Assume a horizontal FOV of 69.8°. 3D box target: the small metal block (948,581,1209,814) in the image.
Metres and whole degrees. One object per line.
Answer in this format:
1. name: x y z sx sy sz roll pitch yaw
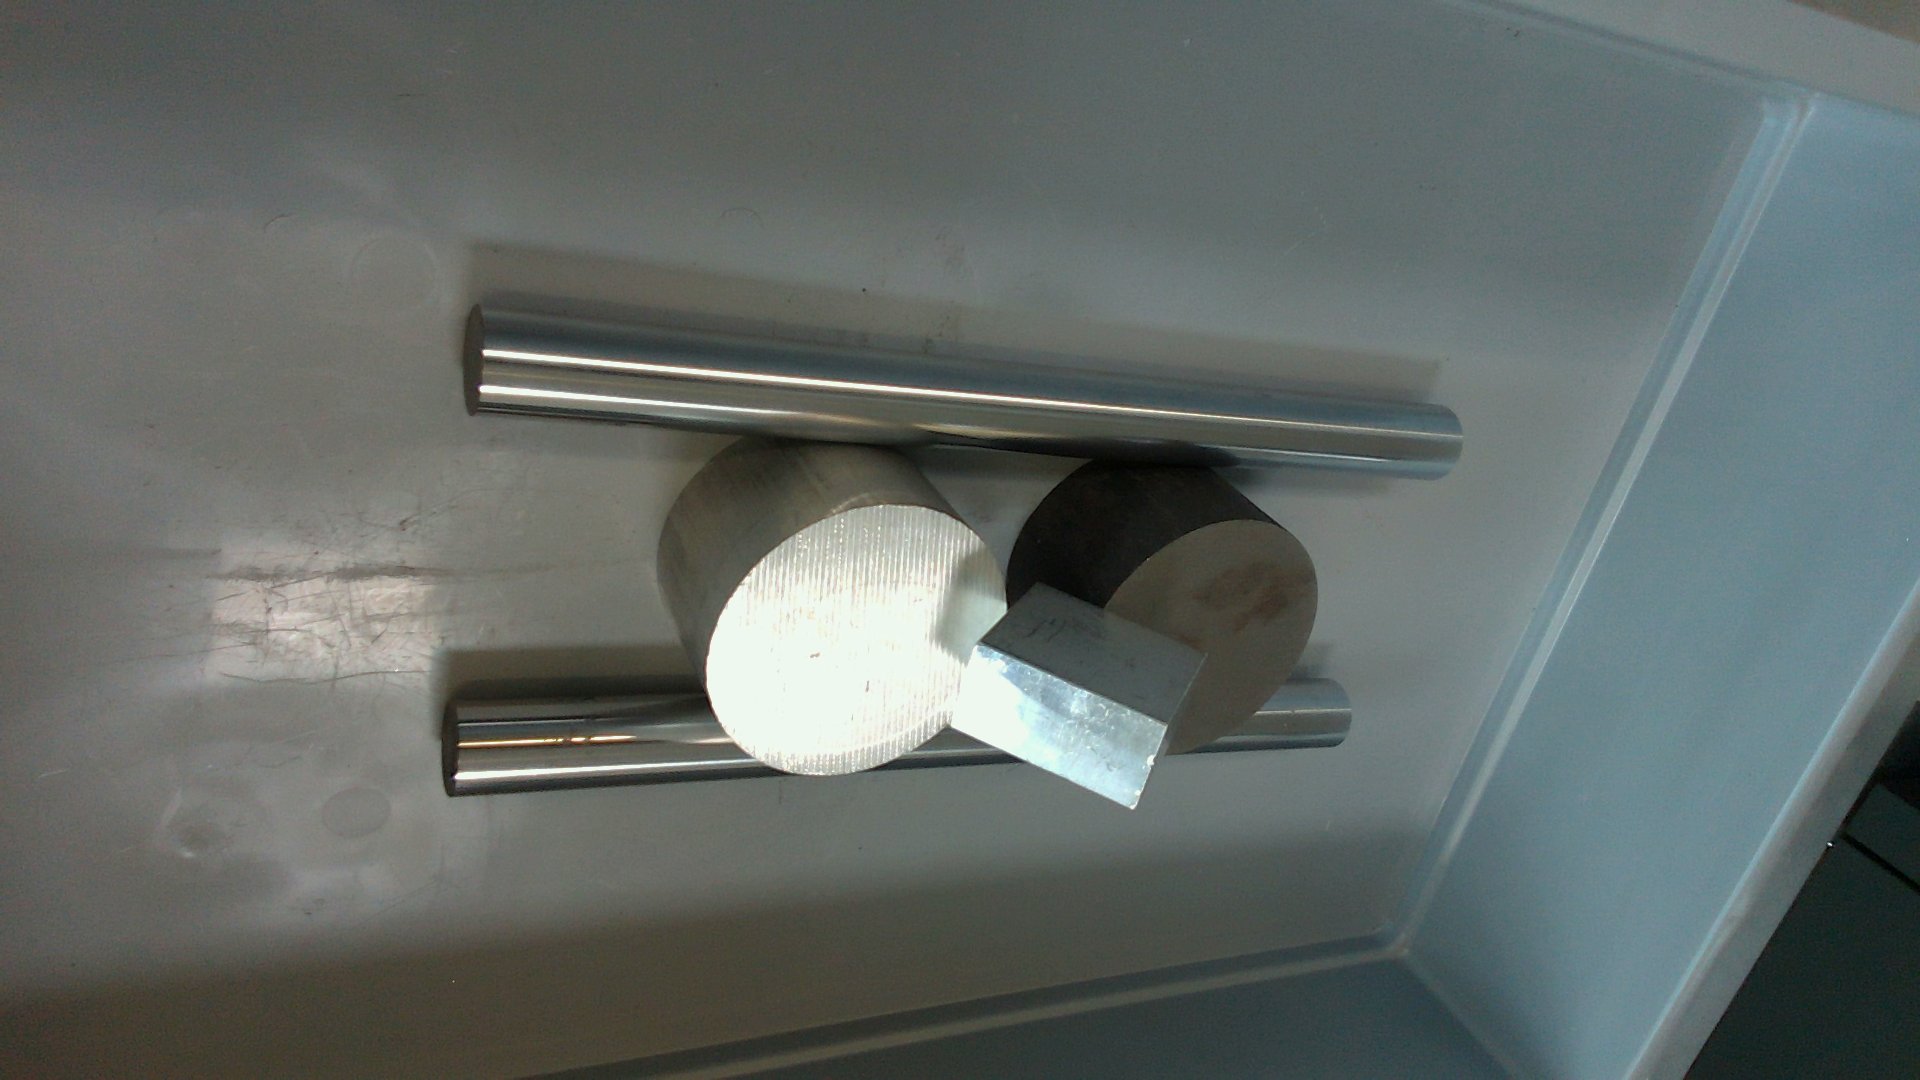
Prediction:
1. small metal block: 0.032 0.038 0.353 0.050 0.050 0.025 -39 149 -64

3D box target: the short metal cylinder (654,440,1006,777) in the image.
1. short metal cylinder: -0.035 0.015 0.362 0.080 0.050 0.080 -14 124 -21

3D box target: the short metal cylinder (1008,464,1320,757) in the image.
1. short metal cylinder: 0.060 0.018 0.416 0.080 0.050 0.080 -14 124 -21

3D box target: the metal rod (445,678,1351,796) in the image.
1. metal rod: 0.001 0.057 0.424 0.301 0.025 0.025 2 117 -29

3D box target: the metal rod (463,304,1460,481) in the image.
1. metal rod: 0.023 -0.036 0.378 0.301 0.025 0.025 2 118 -29
